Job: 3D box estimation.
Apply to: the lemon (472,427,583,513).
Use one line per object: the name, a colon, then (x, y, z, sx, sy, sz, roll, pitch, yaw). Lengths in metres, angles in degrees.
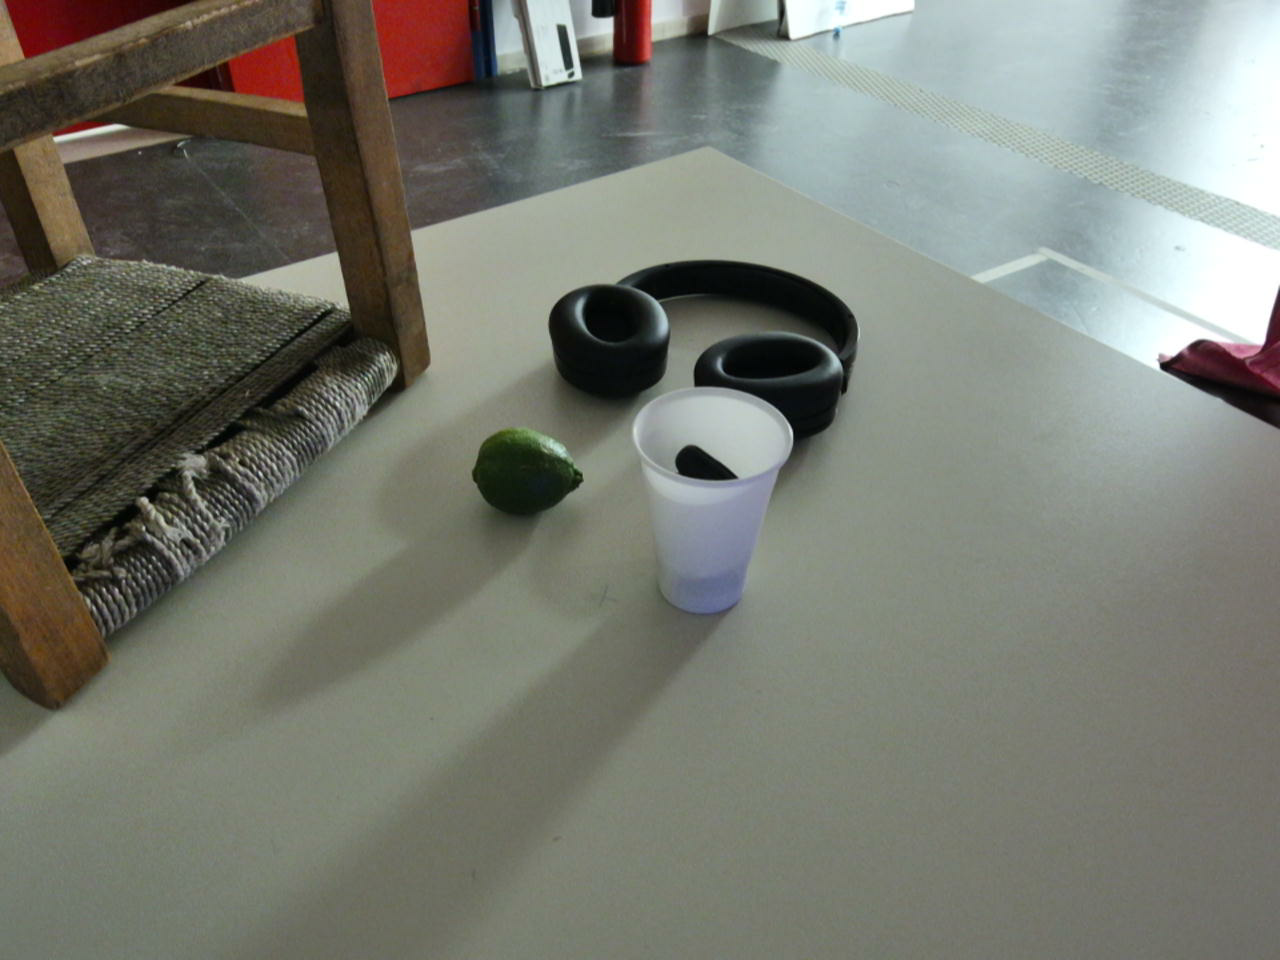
lemon: (-0.069, -0.006, 0.585, 0.057, 0.051, 0.054, -27, 46, -31)
